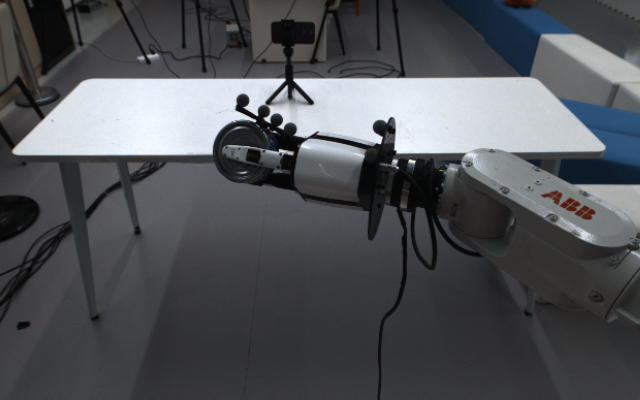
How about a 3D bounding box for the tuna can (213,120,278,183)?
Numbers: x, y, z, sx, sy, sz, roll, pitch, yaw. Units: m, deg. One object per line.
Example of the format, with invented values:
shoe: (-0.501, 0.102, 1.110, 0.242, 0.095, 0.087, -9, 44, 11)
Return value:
tuna can: (-0.098, -0.059, 0.656, 0.085, 0.085, 0.034, 12, 4, 14)
